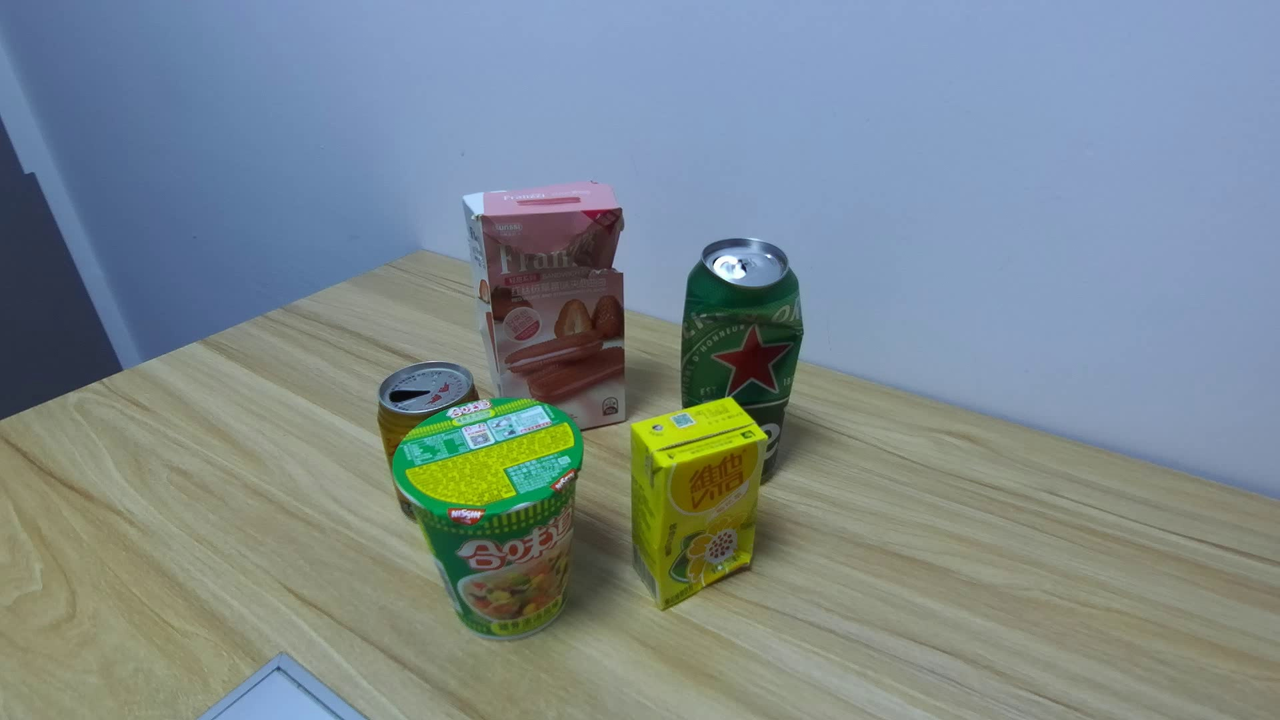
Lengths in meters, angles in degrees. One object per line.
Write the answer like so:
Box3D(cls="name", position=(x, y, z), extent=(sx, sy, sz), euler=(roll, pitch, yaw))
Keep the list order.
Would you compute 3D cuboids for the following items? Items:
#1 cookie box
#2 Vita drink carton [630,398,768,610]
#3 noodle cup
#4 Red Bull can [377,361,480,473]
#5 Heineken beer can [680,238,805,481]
Box3D(cls="cookie box", position=(-0.065, -0.032, 0.526), extent=(0.105, 0.186, 0.059), euler=(-8, 34, -13))
Box3D(cls="Vita drink carton", position=(0.036, 0.081, 0.407), extent=(0.076, 0.109, 0.043), euler=(-14, 33, -20))
Box3D(cls="noodle cup", position=(-0.078, 0.093, 0.392), extent=(0.097, 0.110, 0.097), euler=(1, 31, 0))
Box3D(cls="Red Bull can", position=(-0.137, 0.055, 0.478), extent=(0.068, 0.093, 0.068), euler=(0, 31, 0))
Box3D(cls="Heineken beer can", position=(0.065, 0.007, 0.473), extent=(0.068, 0.168, 0.069), euler=(18, 40, 25))
